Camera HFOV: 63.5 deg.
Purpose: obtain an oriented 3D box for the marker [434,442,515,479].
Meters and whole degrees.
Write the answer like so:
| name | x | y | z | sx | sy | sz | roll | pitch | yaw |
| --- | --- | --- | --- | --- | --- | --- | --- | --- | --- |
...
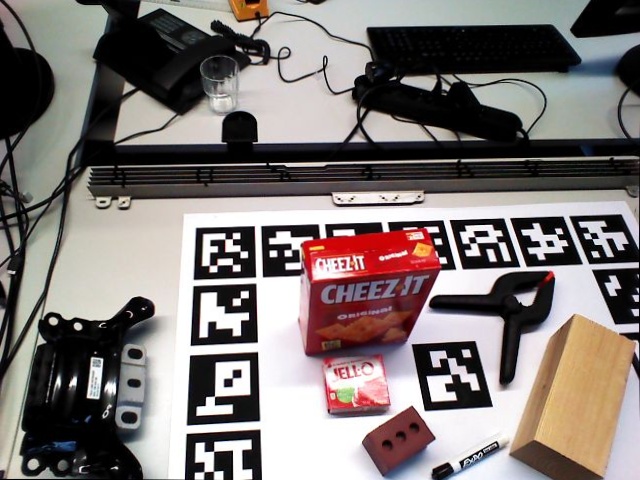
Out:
| name | x | y | z | sx | sy | sz | roll | pitch | yaw |
| --- | --- | --- | --- | --- | --- | --- | --- | --- | --- |
| marker | 0.202 | 0.300 | 0.682 | 0.121 | 0.020 | 0.019 | -19 | 63 | -14 |

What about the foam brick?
| name | x | y | z | sx | sy | sz | roll | pitch | yaw |
| --- | --- | --- | --- | --- | --- | --- | --- | --- | --- |
| foam brick | 0.111 | 0.269 | 0.679 | 0.078 | 0.051 | 0.052 | -24 | 64 | -16 |

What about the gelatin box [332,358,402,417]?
| name | x | y | z | sx | sy | sz | roll | pitch | yaw |
| --- | --- | --- | --- | --- | --- | --- | --- | --- | --- |
| gelatin box | 0.064 | 0.208 | 0.730 | 0.089 | 0.030 | 0.073 | -3 | 60 | -5 |

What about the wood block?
| name | x | y | z | sx | sy | sz | roll | pitch | yaw |
| --- | --- | --- | --- | --- | --- | --- | --- | --- | --- |
| wood block | 0.361 | 0.223 | 0.702 | 0.090 | 0.091 | 0.205 | 27 | 58 | 16 |

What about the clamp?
| name | x | y | z | sx | sy | sz | roll | pitch | yaw |
| --- | --- | --- | --- | --- | --- | --- | --- | --- | --- |
| clamp | 0.311 | 0.109 | 0.796 | 0.202 | 0.037 | 0.165 | -30 | 65 | -19 |

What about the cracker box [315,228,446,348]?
| name | x | y | z | sx | sy | sz | roll | pitch | yaw |
| --- | --- | --- | --- | --- | --- | --- | --- | --- | --- |
| cracker box | 0.077 | 0.070 | 0.698 | 0.164 | 0.214 | 0.071 | -4 | 58 | -8 |
